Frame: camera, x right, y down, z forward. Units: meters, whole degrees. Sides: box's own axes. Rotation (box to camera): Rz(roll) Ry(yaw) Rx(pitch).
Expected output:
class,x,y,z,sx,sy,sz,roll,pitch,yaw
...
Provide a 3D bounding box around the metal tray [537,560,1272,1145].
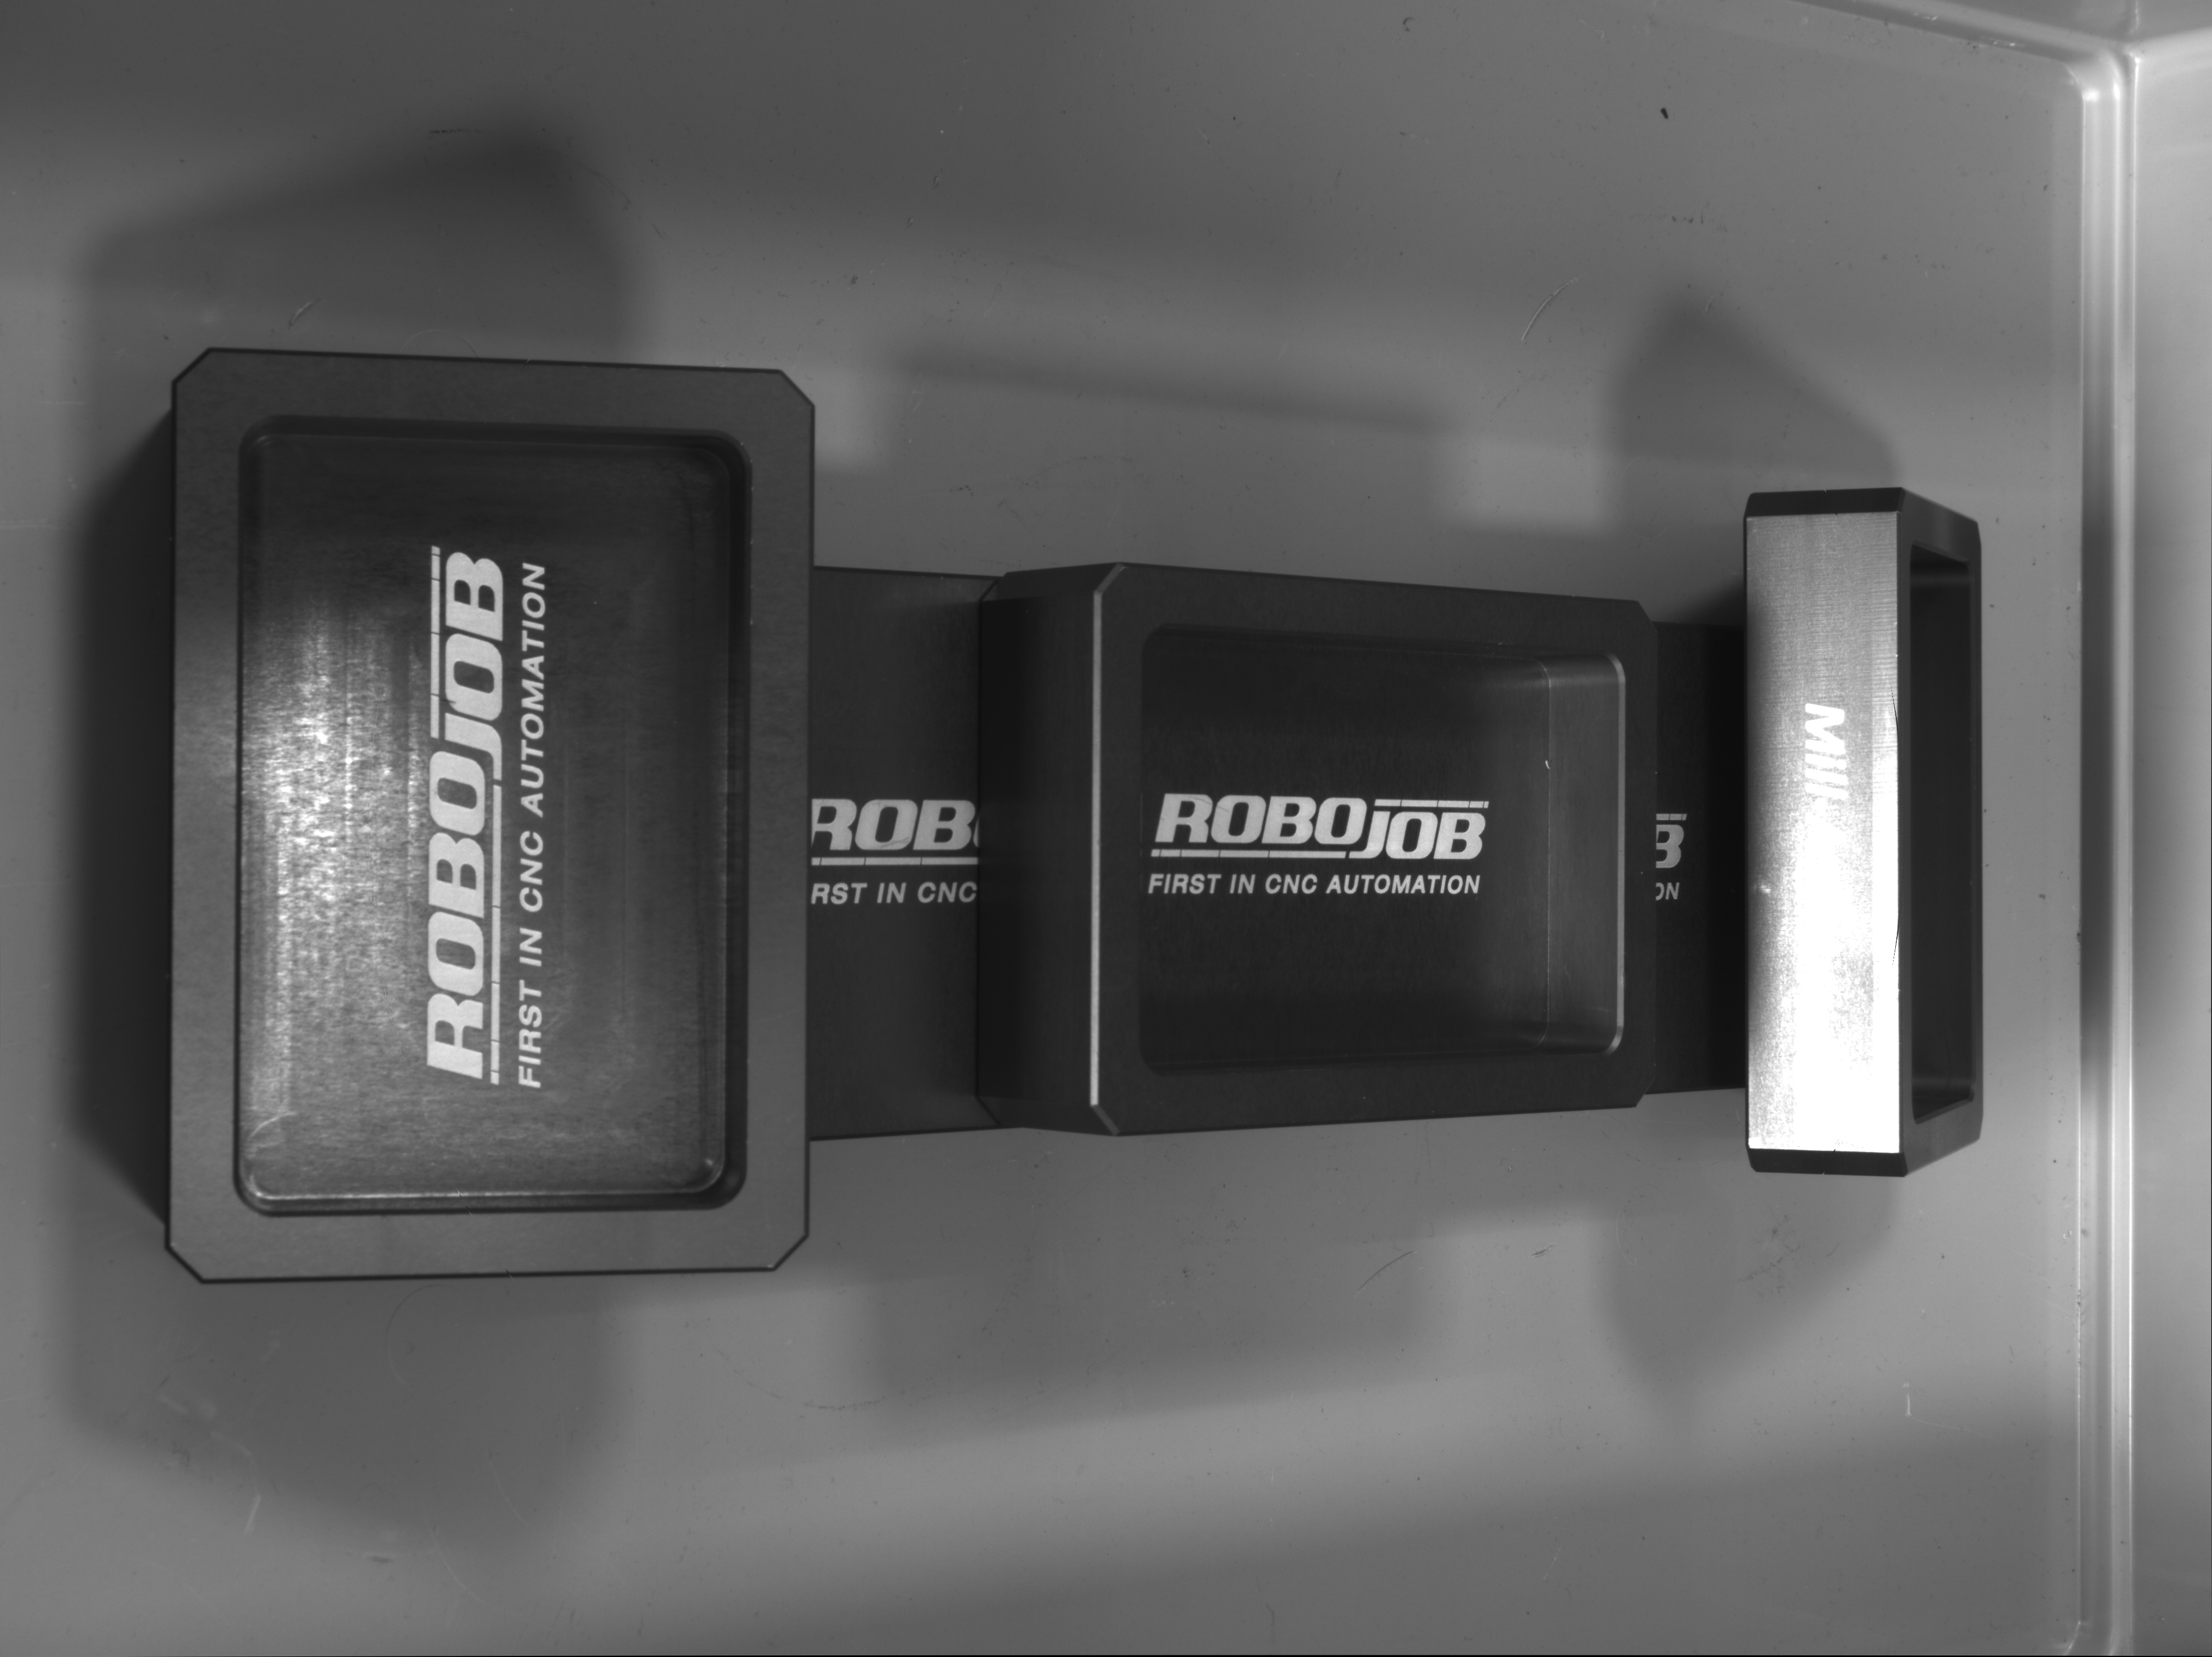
class,x,y,z,sx,sy,sz,roll,pitch,yaw
metal tray,-0.030,0.004,0.607,0.131,0.030,0.090,0,90,-40

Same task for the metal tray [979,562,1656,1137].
class,x,y,z,sx,sy,sz,roll,pitch,yaw
metal tray,0.039,0.004,0.624,0.131,0.030,0.090,1,89,-39

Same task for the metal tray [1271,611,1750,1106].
class,x,y,z,sx,sy,sz,roll,pitch,yaw
metal tray,0.070,0.006,0.690,0.131,0.030,0.090,0,90,-40

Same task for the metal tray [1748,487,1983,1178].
class,x,y,z,sx,sy,sz,roll,pitch,yaw
metal tray,0.153,0.001,0.733,0.090,0.030,0.130,0,89,-68

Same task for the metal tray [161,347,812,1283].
class,x,y,z,sx,sy,sz,roll,pitch,yaw
metal tray,-0.090,-0.001,0.533,0.090,0.030,0.130,1,90,-14
